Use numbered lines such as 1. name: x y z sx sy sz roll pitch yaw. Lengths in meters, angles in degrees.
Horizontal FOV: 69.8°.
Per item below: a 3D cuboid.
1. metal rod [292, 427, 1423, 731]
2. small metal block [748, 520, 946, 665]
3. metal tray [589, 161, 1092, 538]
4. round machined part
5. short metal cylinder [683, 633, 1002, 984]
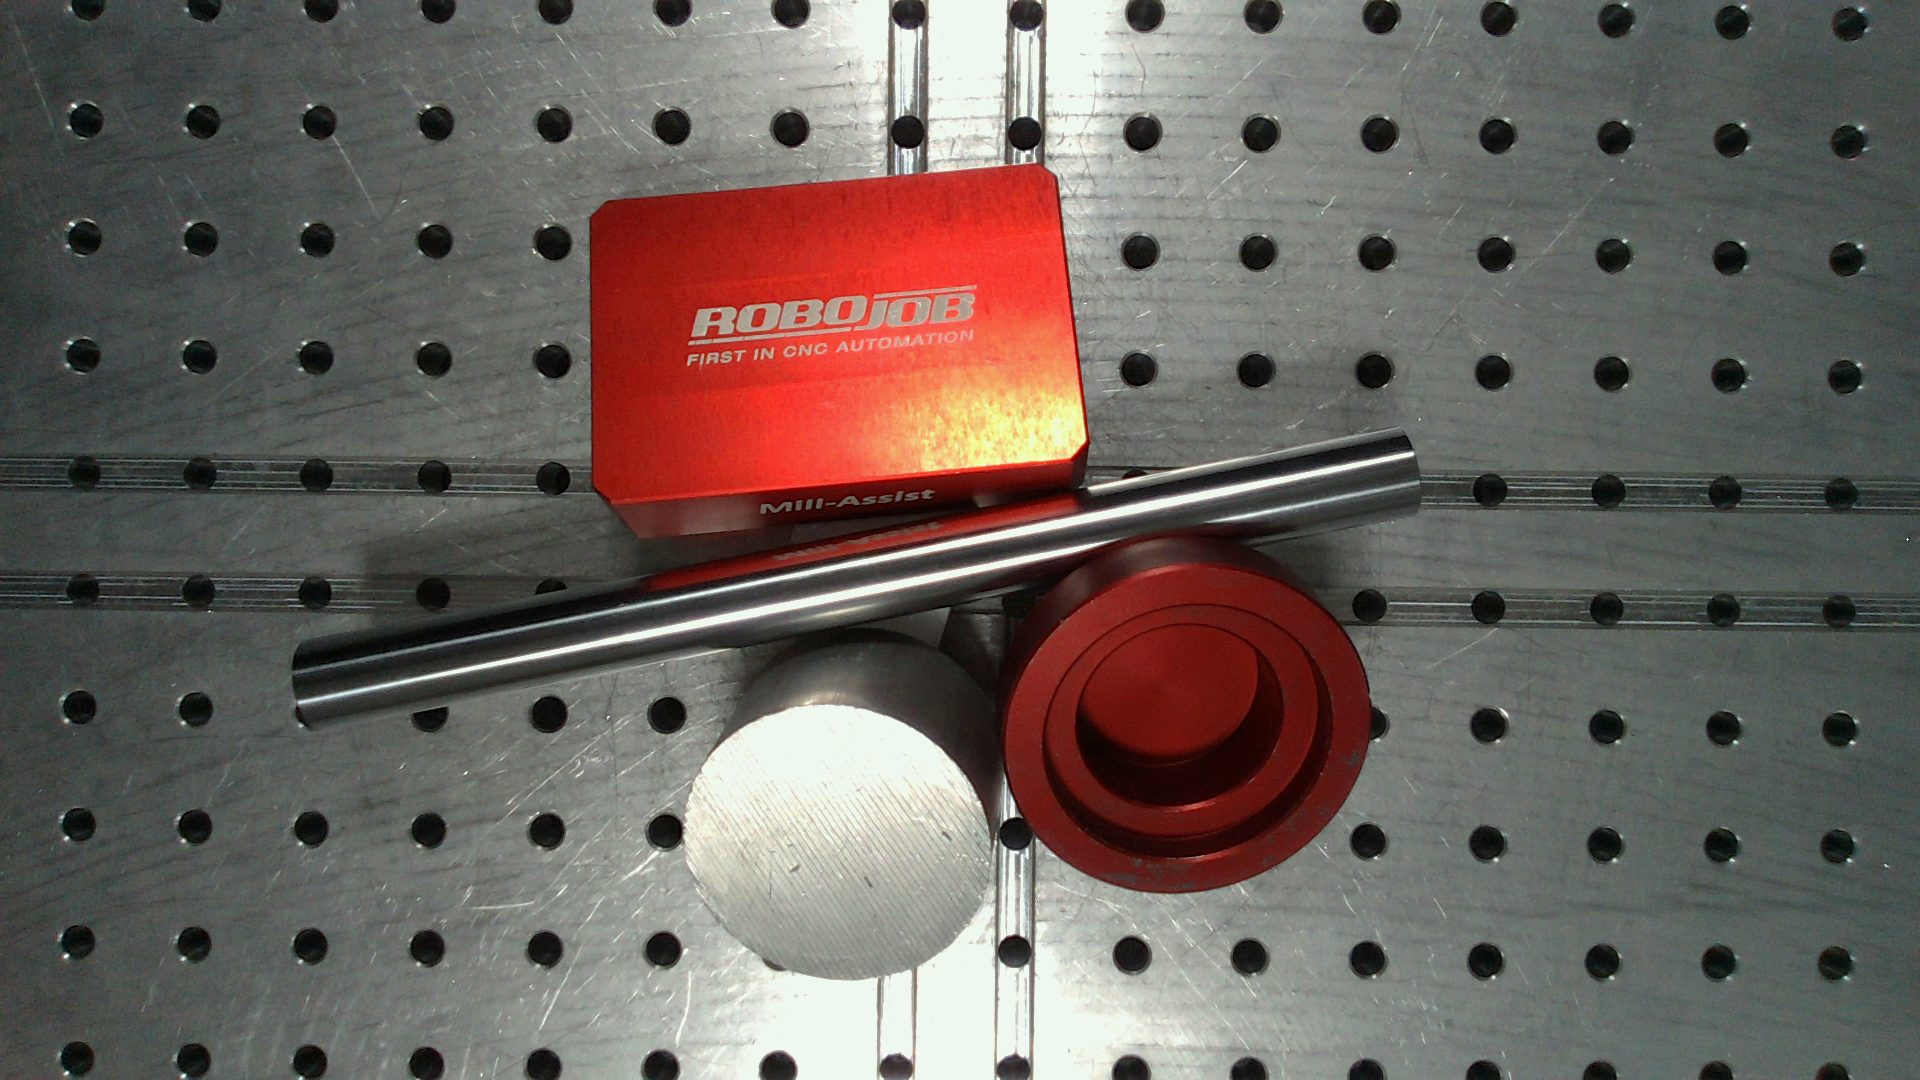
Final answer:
1. metal rod: -0.027 0.011 0.372 0.300 0.025 0.025 -11 90 0
2. small metal block: -0.029 0.018 0.406 0.050 0.025 0.050 18 90 0
3. metal tray: -0.034 -0.053 0.381 0.130 0.030 0.090 -5 72 -1
4. round machined part: 0.059 0.044 0.378 0.098 0.042 0.098 -2 112 -4
5. short metal cylinder: -0.029 0.071 0.374 0.080 0.050 0.080 2 109 5
